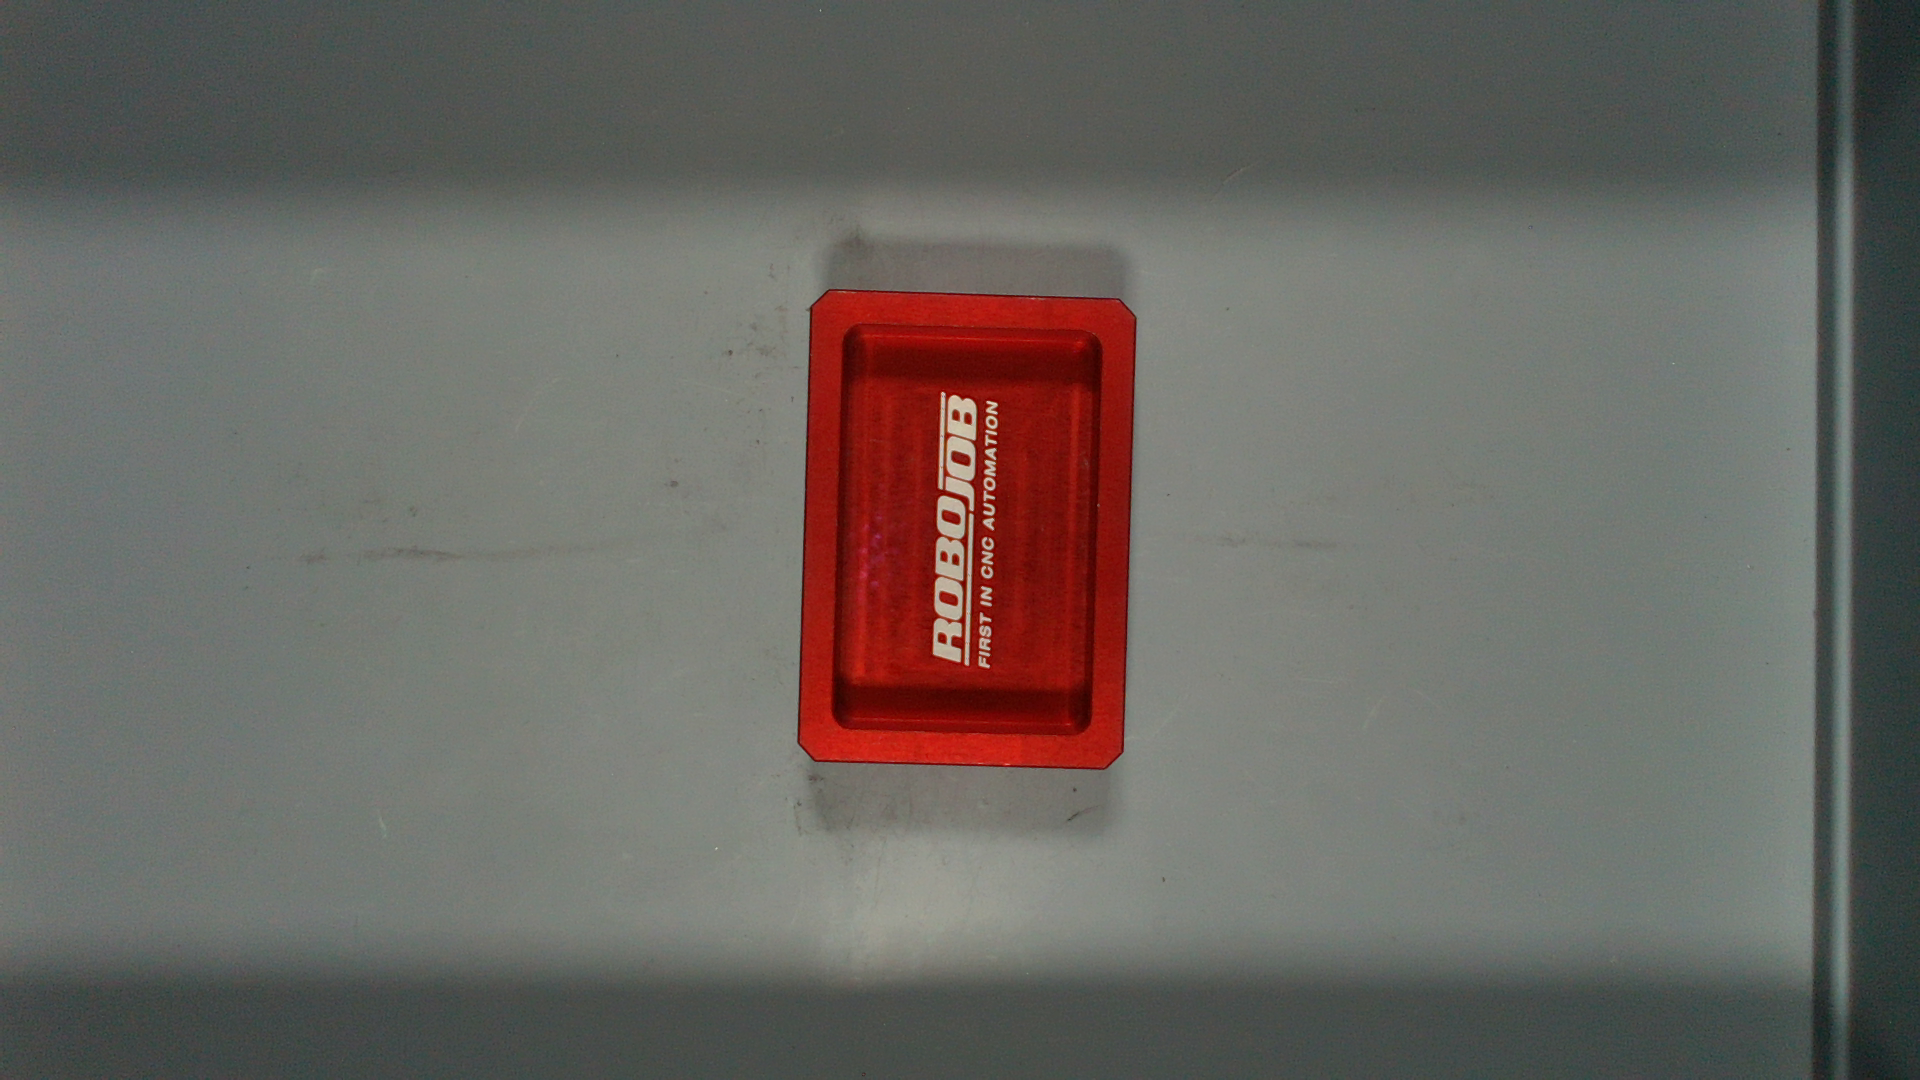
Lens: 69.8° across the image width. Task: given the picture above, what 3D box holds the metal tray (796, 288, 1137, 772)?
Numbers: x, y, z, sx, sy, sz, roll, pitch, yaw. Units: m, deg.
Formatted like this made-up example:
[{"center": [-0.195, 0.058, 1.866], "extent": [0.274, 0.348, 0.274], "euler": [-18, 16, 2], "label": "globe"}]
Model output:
[{"center": [0.002, -0.003, 0.390], "extent": [0.090, 0.030, 0.130], "euler": [2, 90, -1], "label": "metal tray"}]
